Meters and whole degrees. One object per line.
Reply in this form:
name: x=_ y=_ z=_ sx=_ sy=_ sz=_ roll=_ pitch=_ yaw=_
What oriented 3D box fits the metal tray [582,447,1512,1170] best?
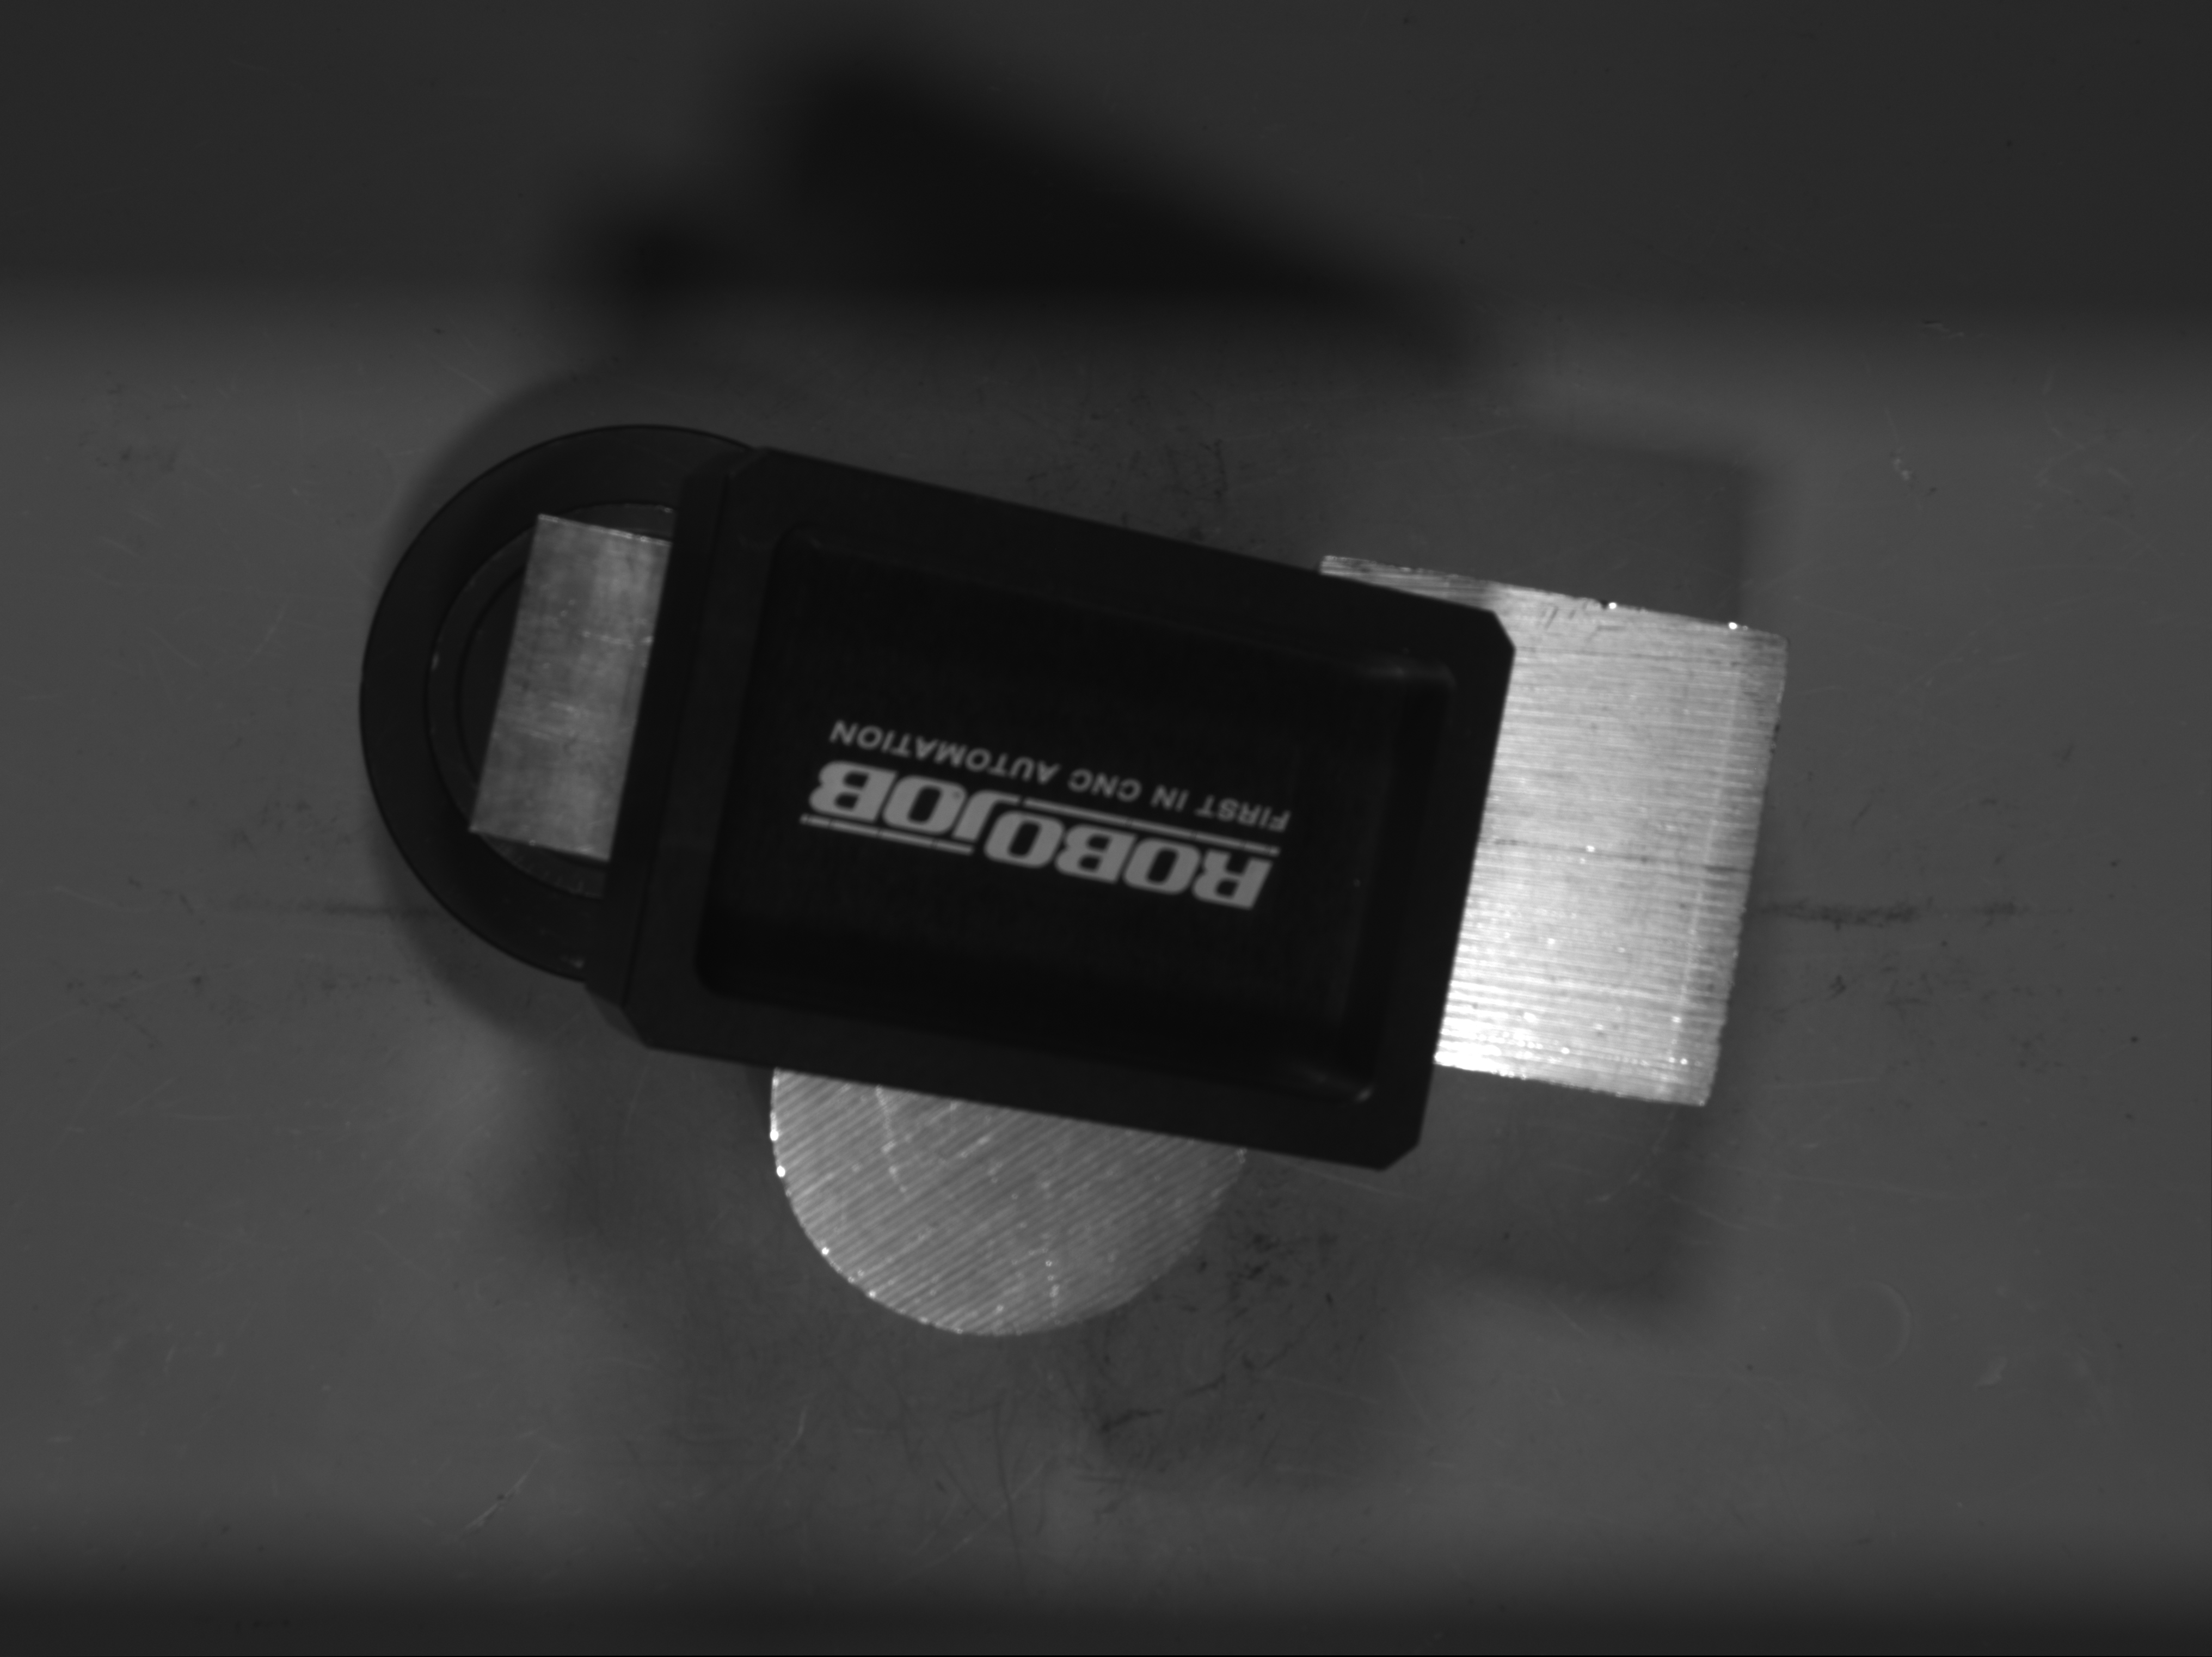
metal tray: x=-0.008 y=-0.002 z=0.571 sx=0.130 sy=0.030 sz=0.090 roll=11 pitch=90 yaw=-20

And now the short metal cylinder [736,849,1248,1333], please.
short metal cylinder: x=-0.021 y=0.039 z=0.620 sx=0.080 sy=0.050 sz=0.080 roll=-3 pitch=103 yaw=-12

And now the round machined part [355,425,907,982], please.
round machined part: x=-0.081 y=-0.021 z=0.635 sx=0.098 sy=0.042 sz=0.098 roll=0 pitch=90 yaw=0

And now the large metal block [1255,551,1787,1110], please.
large metal block: x=0.066 y=0.000 z=0.631 sx=0.080 sy=0.050 sz=0.080 roll=10 pitch=90 yaw=0

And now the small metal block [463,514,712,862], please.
small metal block: x=-0.081 y=-0.021 z=0.589 sx=0.025 sy=0.050 sz=0.050 roll=12 pitch=90 yaw=0
